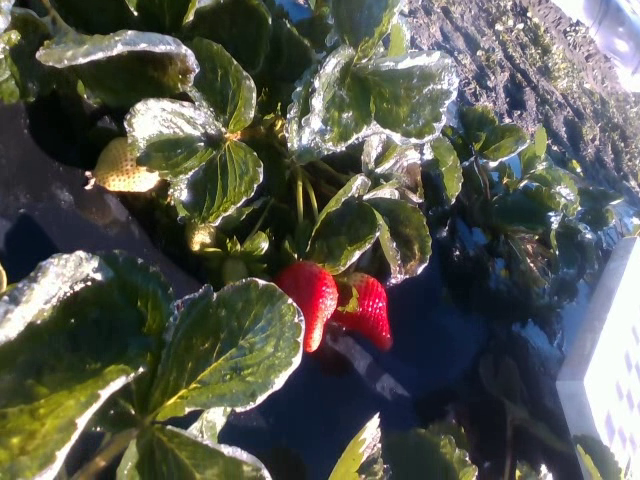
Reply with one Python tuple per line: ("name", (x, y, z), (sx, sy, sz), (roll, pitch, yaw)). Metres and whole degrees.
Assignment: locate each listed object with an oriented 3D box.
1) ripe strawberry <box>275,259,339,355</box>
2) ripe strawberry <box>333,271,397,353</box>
("ripe strawberry", (-0.004, 0.048, 0.394), (0.040, 0.070, 0.052), (-13, -33, 31))
("ripe strawberry", (0.039, 0.050, 0.428), (0.040, 0.059, 0.043), (-17, 10, 42))
